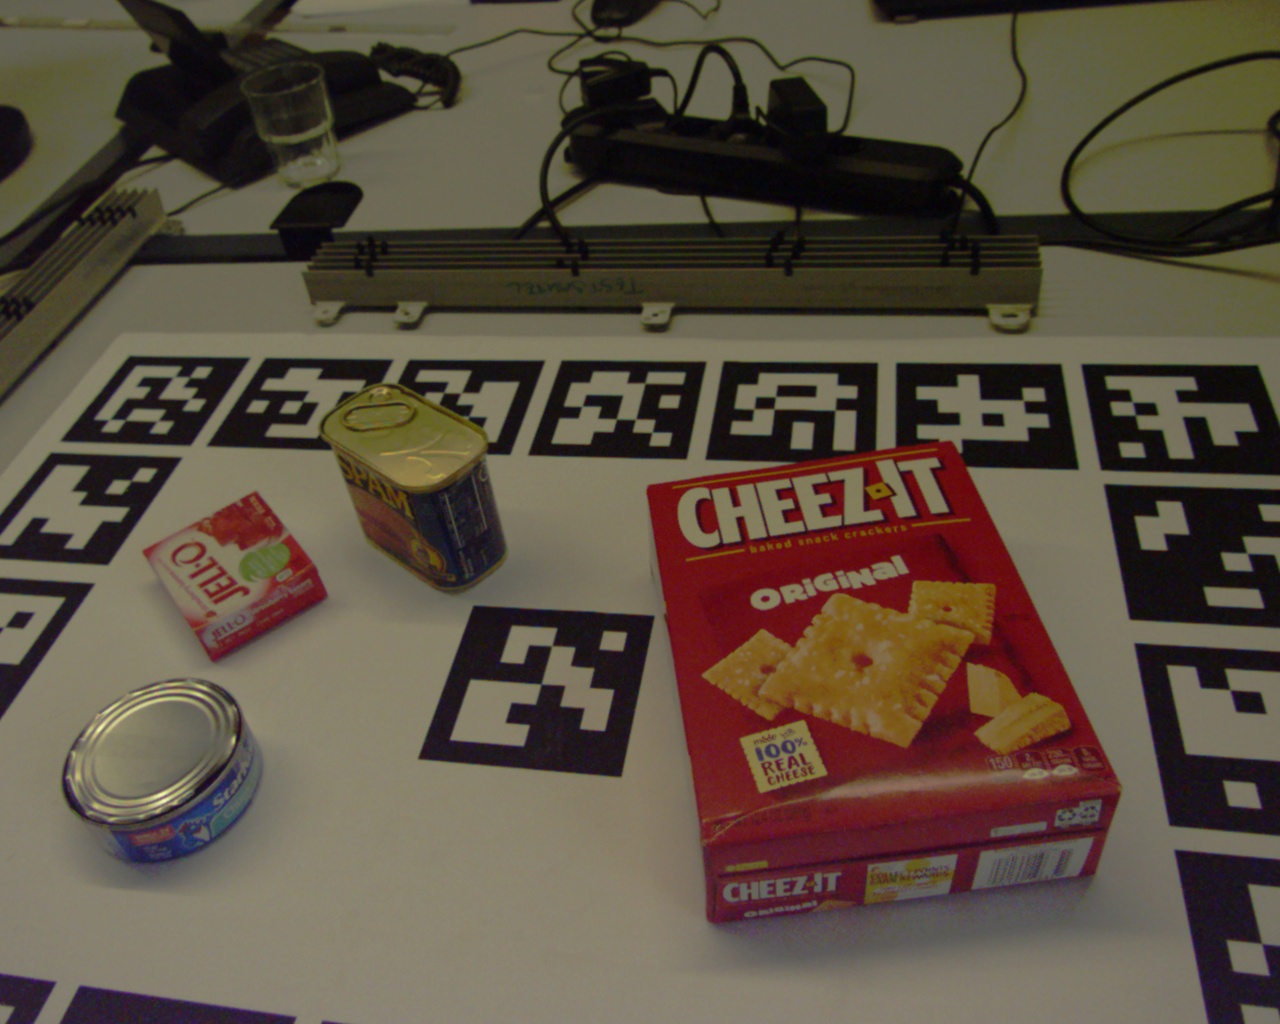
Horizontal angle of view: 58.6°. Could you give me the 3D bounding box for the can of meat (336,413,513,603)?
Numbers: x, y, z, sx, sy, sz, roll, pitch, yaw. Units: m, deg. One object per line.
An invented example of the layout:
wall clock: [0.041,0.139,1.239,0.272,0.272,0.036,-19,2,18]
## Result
can of meat: [-0.128,-0.001,0.693,0.103,0.083,0.057,25,50,33]

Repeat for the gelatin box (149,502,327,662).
gelatin box: [-0.244,0.040,0.694,0.072,0.030,0.090,-29,48,-27]

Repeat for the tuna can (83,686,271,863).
tuna can: [-0.233,0.133,0.580,0.086,0.033,0.086,-6,44,5]

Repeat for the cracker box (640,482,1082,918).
cracker box: [0.095,0.081,0.571,0.164,0.071,0.215,-8,40,-3]
